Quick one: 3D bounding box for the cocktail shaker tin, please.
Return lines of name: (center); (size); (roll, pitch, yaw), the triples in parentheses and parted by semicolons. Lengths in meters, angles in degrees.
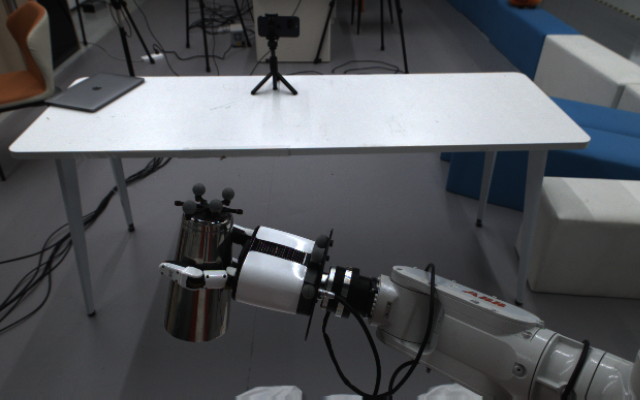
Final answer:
cocktail shaker tin: (-0.161, 0.097, 0.667); (0.093, 0.170, 0.093); (10, 19, -3)
